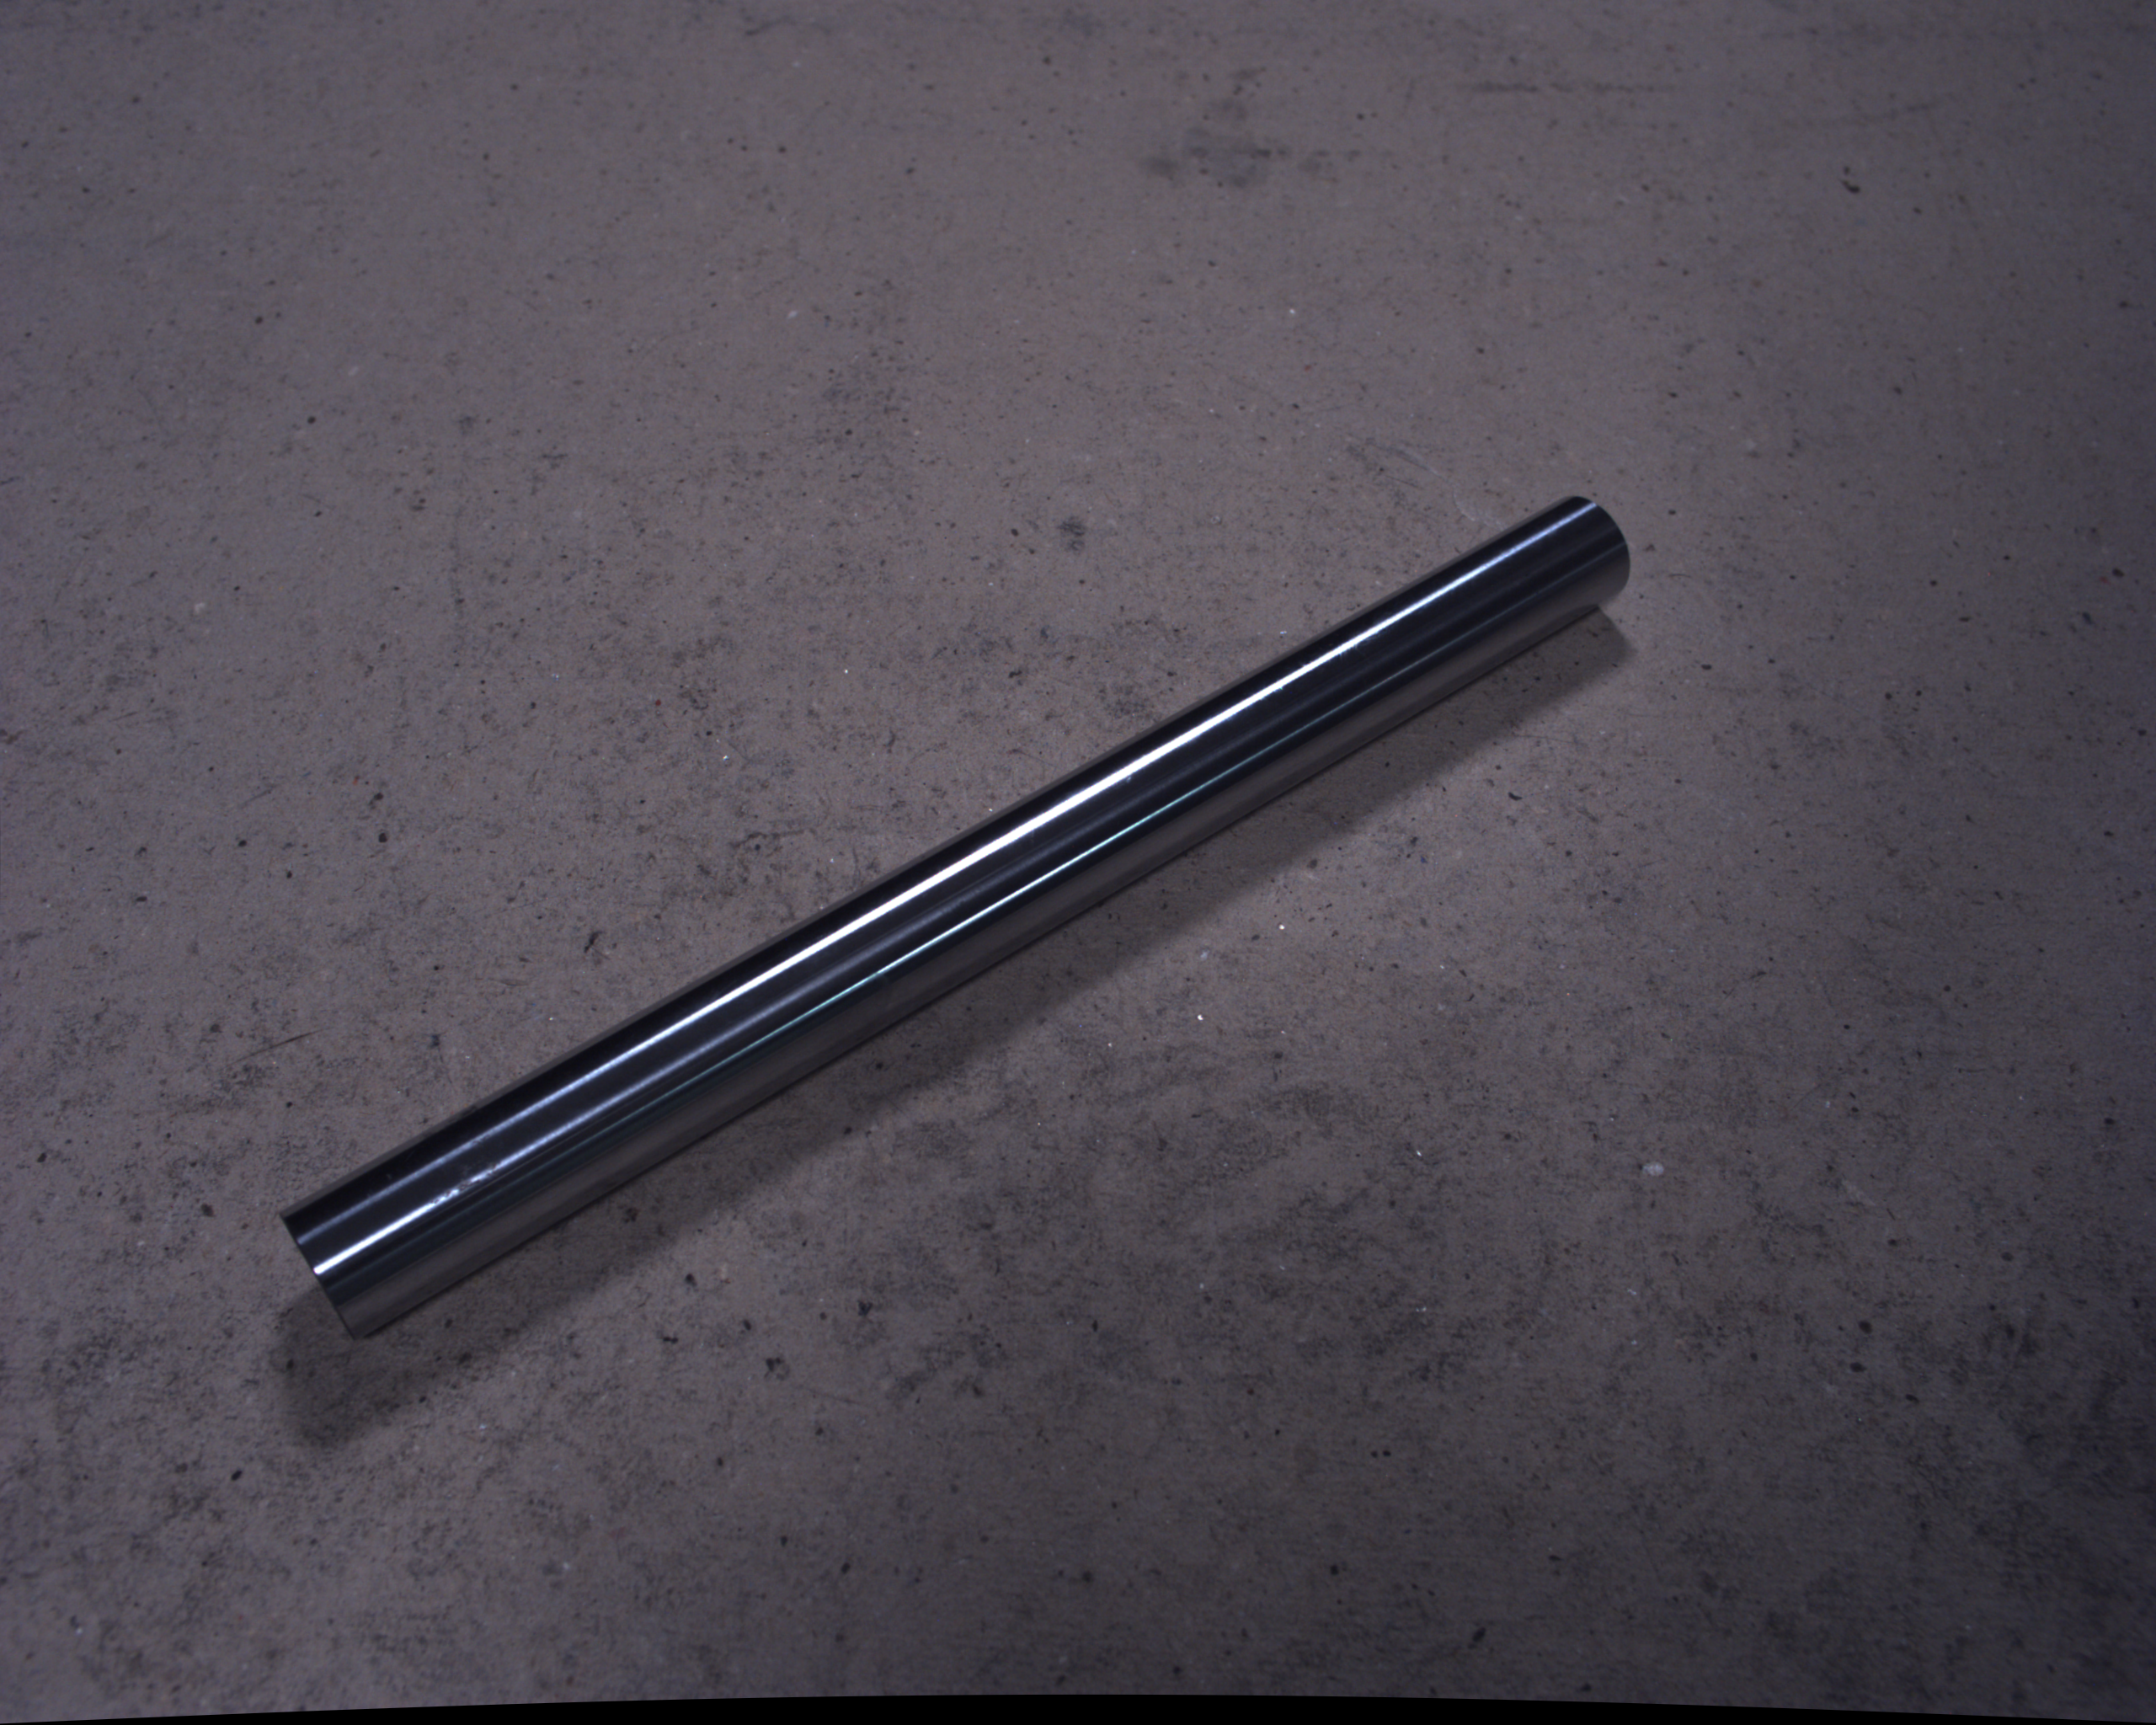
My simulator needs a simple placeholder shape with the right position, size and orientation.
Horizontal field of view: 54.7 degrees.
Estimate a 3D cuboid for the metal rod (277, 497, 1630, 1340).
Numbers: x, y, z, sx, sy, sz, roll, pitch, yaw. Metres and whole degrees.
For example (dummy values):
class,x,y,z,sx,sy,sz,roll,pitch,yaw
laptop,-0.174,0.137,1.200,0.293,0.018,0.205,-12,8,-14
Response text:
class,x,y,z,sx,sy,sz,roll,pitch,yaw
metal rod,-0.006,-0.001,0.406,0.302,0.025,0.025,-30,57,-23
